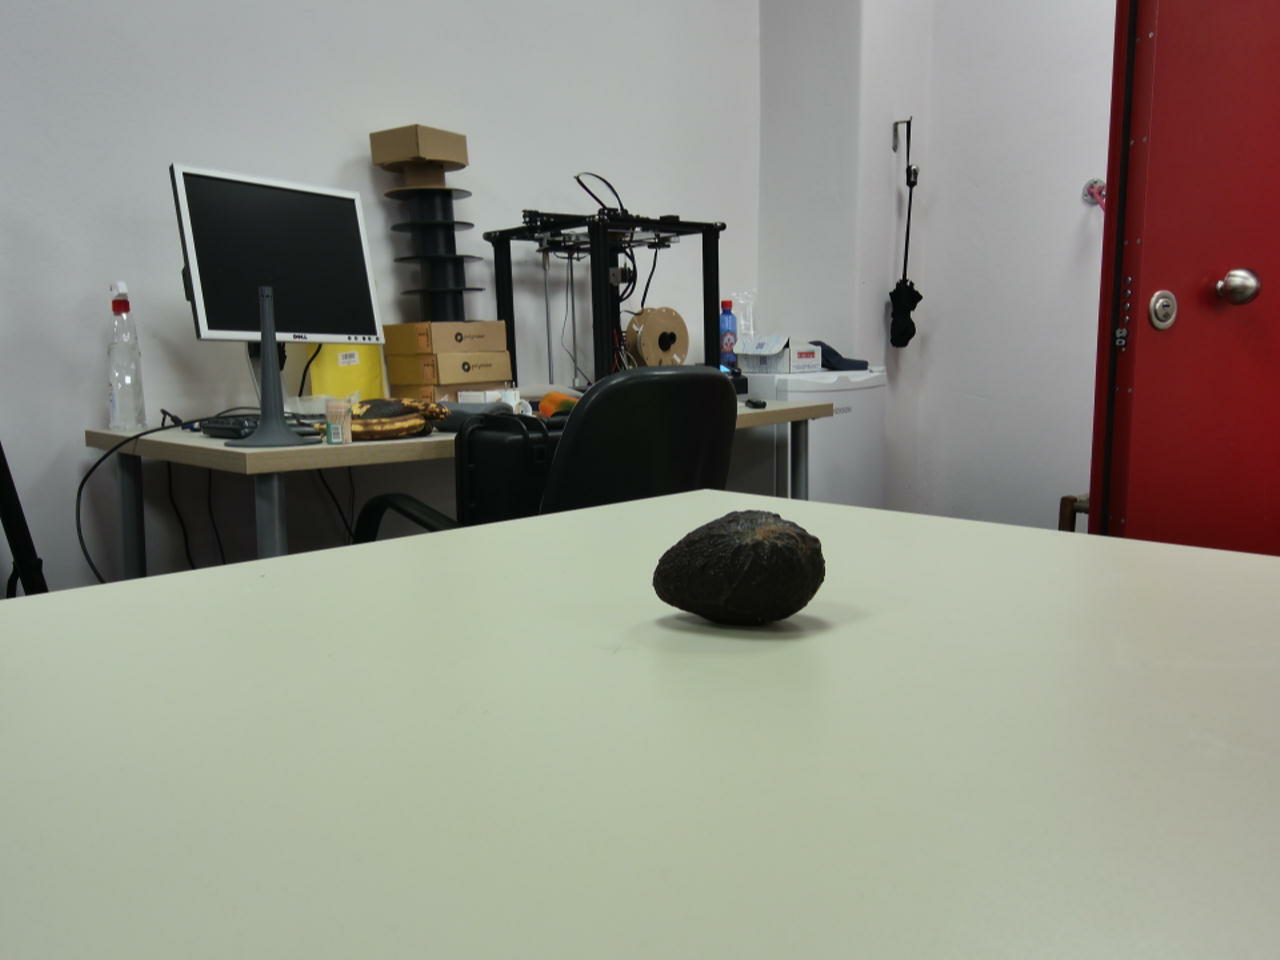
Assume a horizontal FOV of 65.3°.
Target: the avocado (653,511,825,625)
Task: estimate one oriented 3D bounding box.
[{"bbox_3d":[0.054,0.048,0.548,0.092,0.062,0.062,3,6,24],"label":"avocado"}]
